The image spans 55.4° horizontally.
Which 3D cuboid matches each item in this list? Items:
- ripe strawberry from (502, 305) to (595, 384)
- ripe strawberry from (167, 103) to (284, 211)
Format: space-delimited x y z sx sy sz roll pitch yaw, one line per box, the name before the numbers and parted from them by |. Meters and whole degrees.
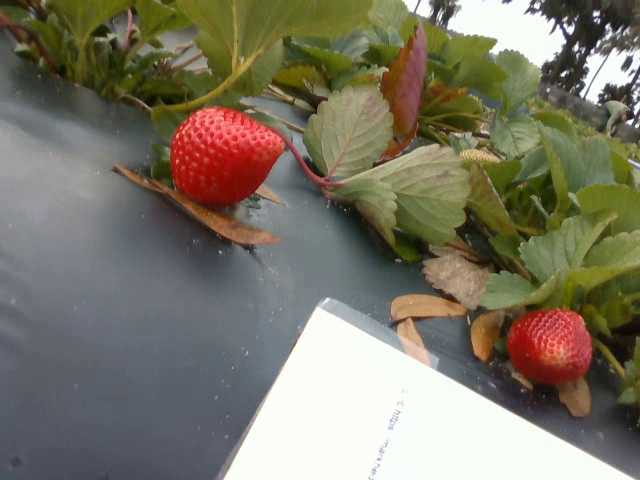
ripe strawberry | 0.096 0.044 0.243 0.040 0.037 0.042 39 10 7
ripe strawberry | -0.035 -0.036 0.252 0.065 0.043 0.047 -1 44 47
